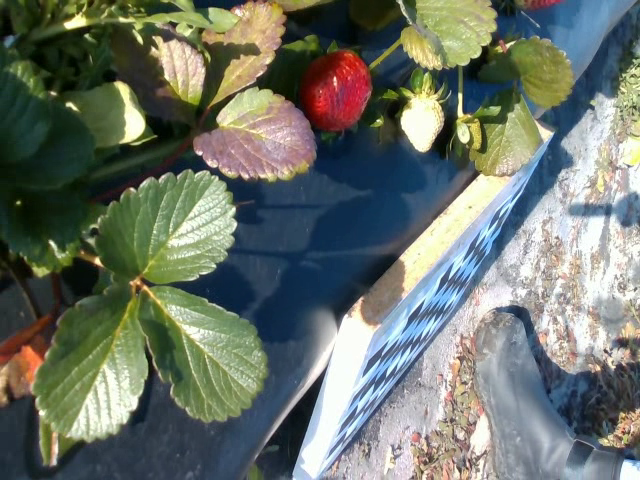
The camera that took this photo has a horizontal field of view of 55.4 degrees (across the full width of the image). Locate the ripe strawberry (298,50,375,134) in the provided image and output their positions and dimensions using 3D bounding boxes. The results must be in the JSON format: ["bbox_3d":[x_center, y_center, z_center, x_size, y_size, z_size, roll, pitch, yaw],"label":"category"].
[{"bbox_3d":[0.004,-0.063,0.252,0.036,0.044,0.053,32,23,12],"label":"ripe strawberry"}]
